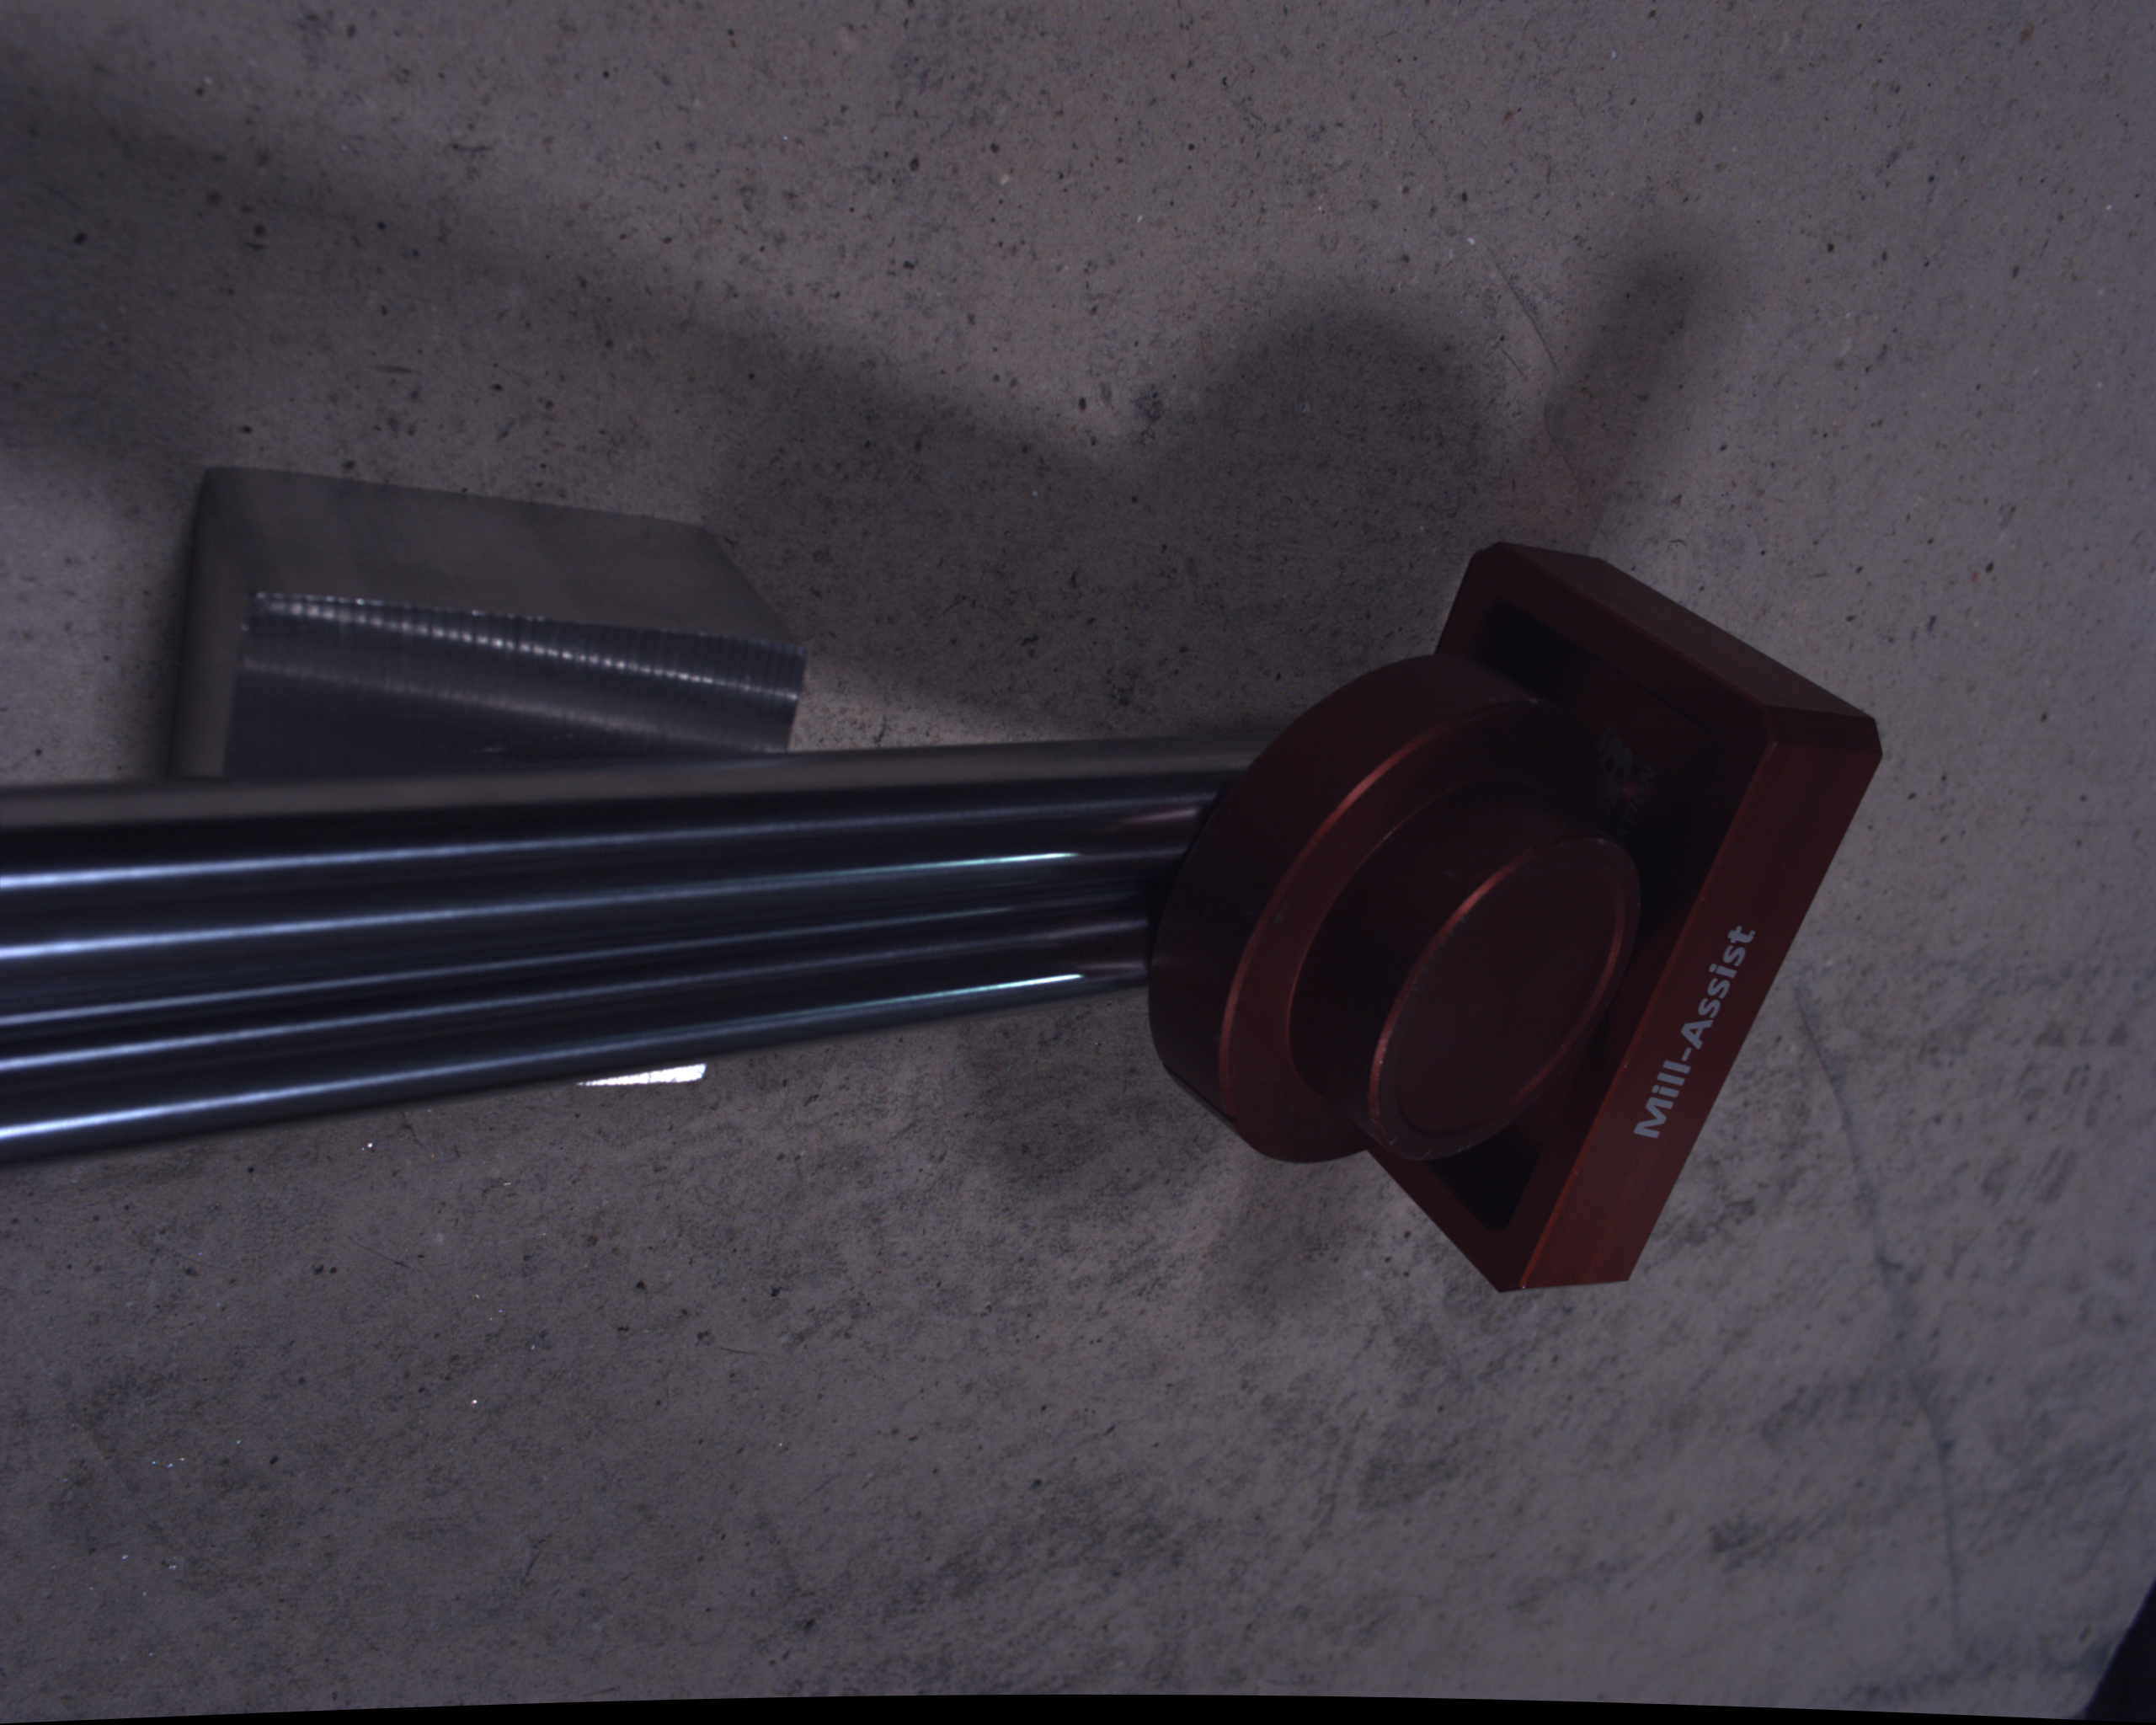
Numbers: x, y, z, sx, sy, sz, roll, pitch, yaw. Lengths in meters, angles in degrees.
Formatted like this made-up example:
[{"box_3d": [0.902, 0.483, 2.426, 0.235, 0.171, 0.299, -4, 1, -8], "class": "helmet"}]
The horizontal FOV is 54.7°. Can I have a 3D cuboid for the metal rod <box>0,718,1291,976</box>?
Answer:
[{"box_3d": [-0.024, -0.009, 0.333, 0.302, 0.025, 0.025, -5, 122, -41], "class": "metal rod"}]

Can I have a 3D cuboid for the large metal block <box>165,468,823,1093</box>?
[{"box_3d": [-0.095, -0.011, 0.330, 0.081, 0.050, 0.079, 3, 117, -30], "class": "large metal block"}]

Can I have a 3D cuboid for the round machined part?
[{"box_3d": [0.063, 0.015, 0.380, 0.099, 0.042, 0.097, -23, 133, -27], "class": "round machined part"}]

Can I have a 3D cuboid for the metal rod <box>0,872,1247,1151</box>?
[{"box_3d": [-0.032, 0.015, 0.343, 0.302, 0.025, 0.025, -5, 122, -41], "class": "metal rod"}]

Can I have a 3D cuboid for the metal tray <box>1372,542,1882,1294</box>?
[{"box_3d": [0.097, 0.011, 0.427, 0.030, 0.090, 0.129, 4, 117, -31], "class": "metal tray"}]
